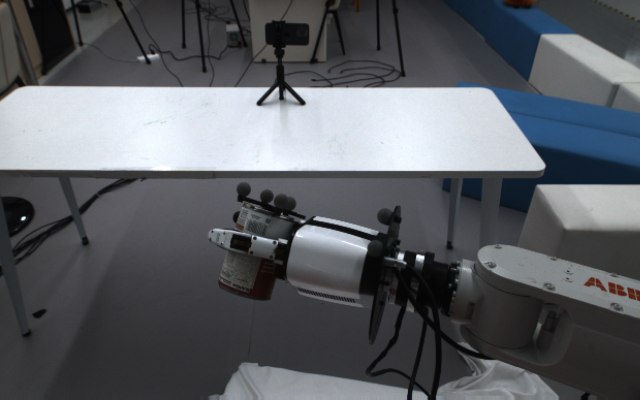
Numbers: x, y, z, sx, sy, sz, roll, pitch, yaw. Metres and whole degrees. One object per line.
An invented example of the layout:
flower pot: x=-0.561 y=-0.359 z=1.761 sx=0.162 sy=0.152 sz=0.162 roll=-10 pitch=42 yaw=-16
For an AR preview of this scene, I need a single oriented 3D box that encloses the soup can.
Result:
soup can: x=-0.074 y=0.062 z=0.582 sx=0.067 sy=0.101 sz=0.067 roll=17 pitch=-1 yaw=0
